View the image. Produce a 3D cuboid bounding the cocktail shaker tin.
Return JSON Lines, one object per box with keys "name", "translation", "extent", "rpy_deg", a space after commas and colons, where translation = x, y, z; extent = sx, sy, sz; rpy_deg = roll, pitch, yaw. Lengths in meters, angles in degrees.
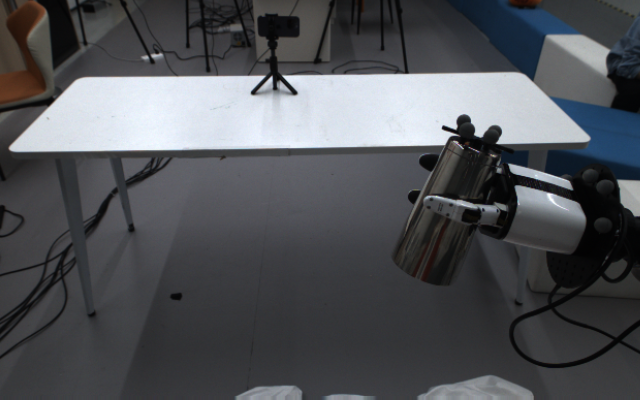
{"name": "cocktail shaker tin", "translation": [0.163, 0.010, 0.611], "extent": [0.093, 0.170, 0.093], "rpy_deg": [16, 21, -6]}
